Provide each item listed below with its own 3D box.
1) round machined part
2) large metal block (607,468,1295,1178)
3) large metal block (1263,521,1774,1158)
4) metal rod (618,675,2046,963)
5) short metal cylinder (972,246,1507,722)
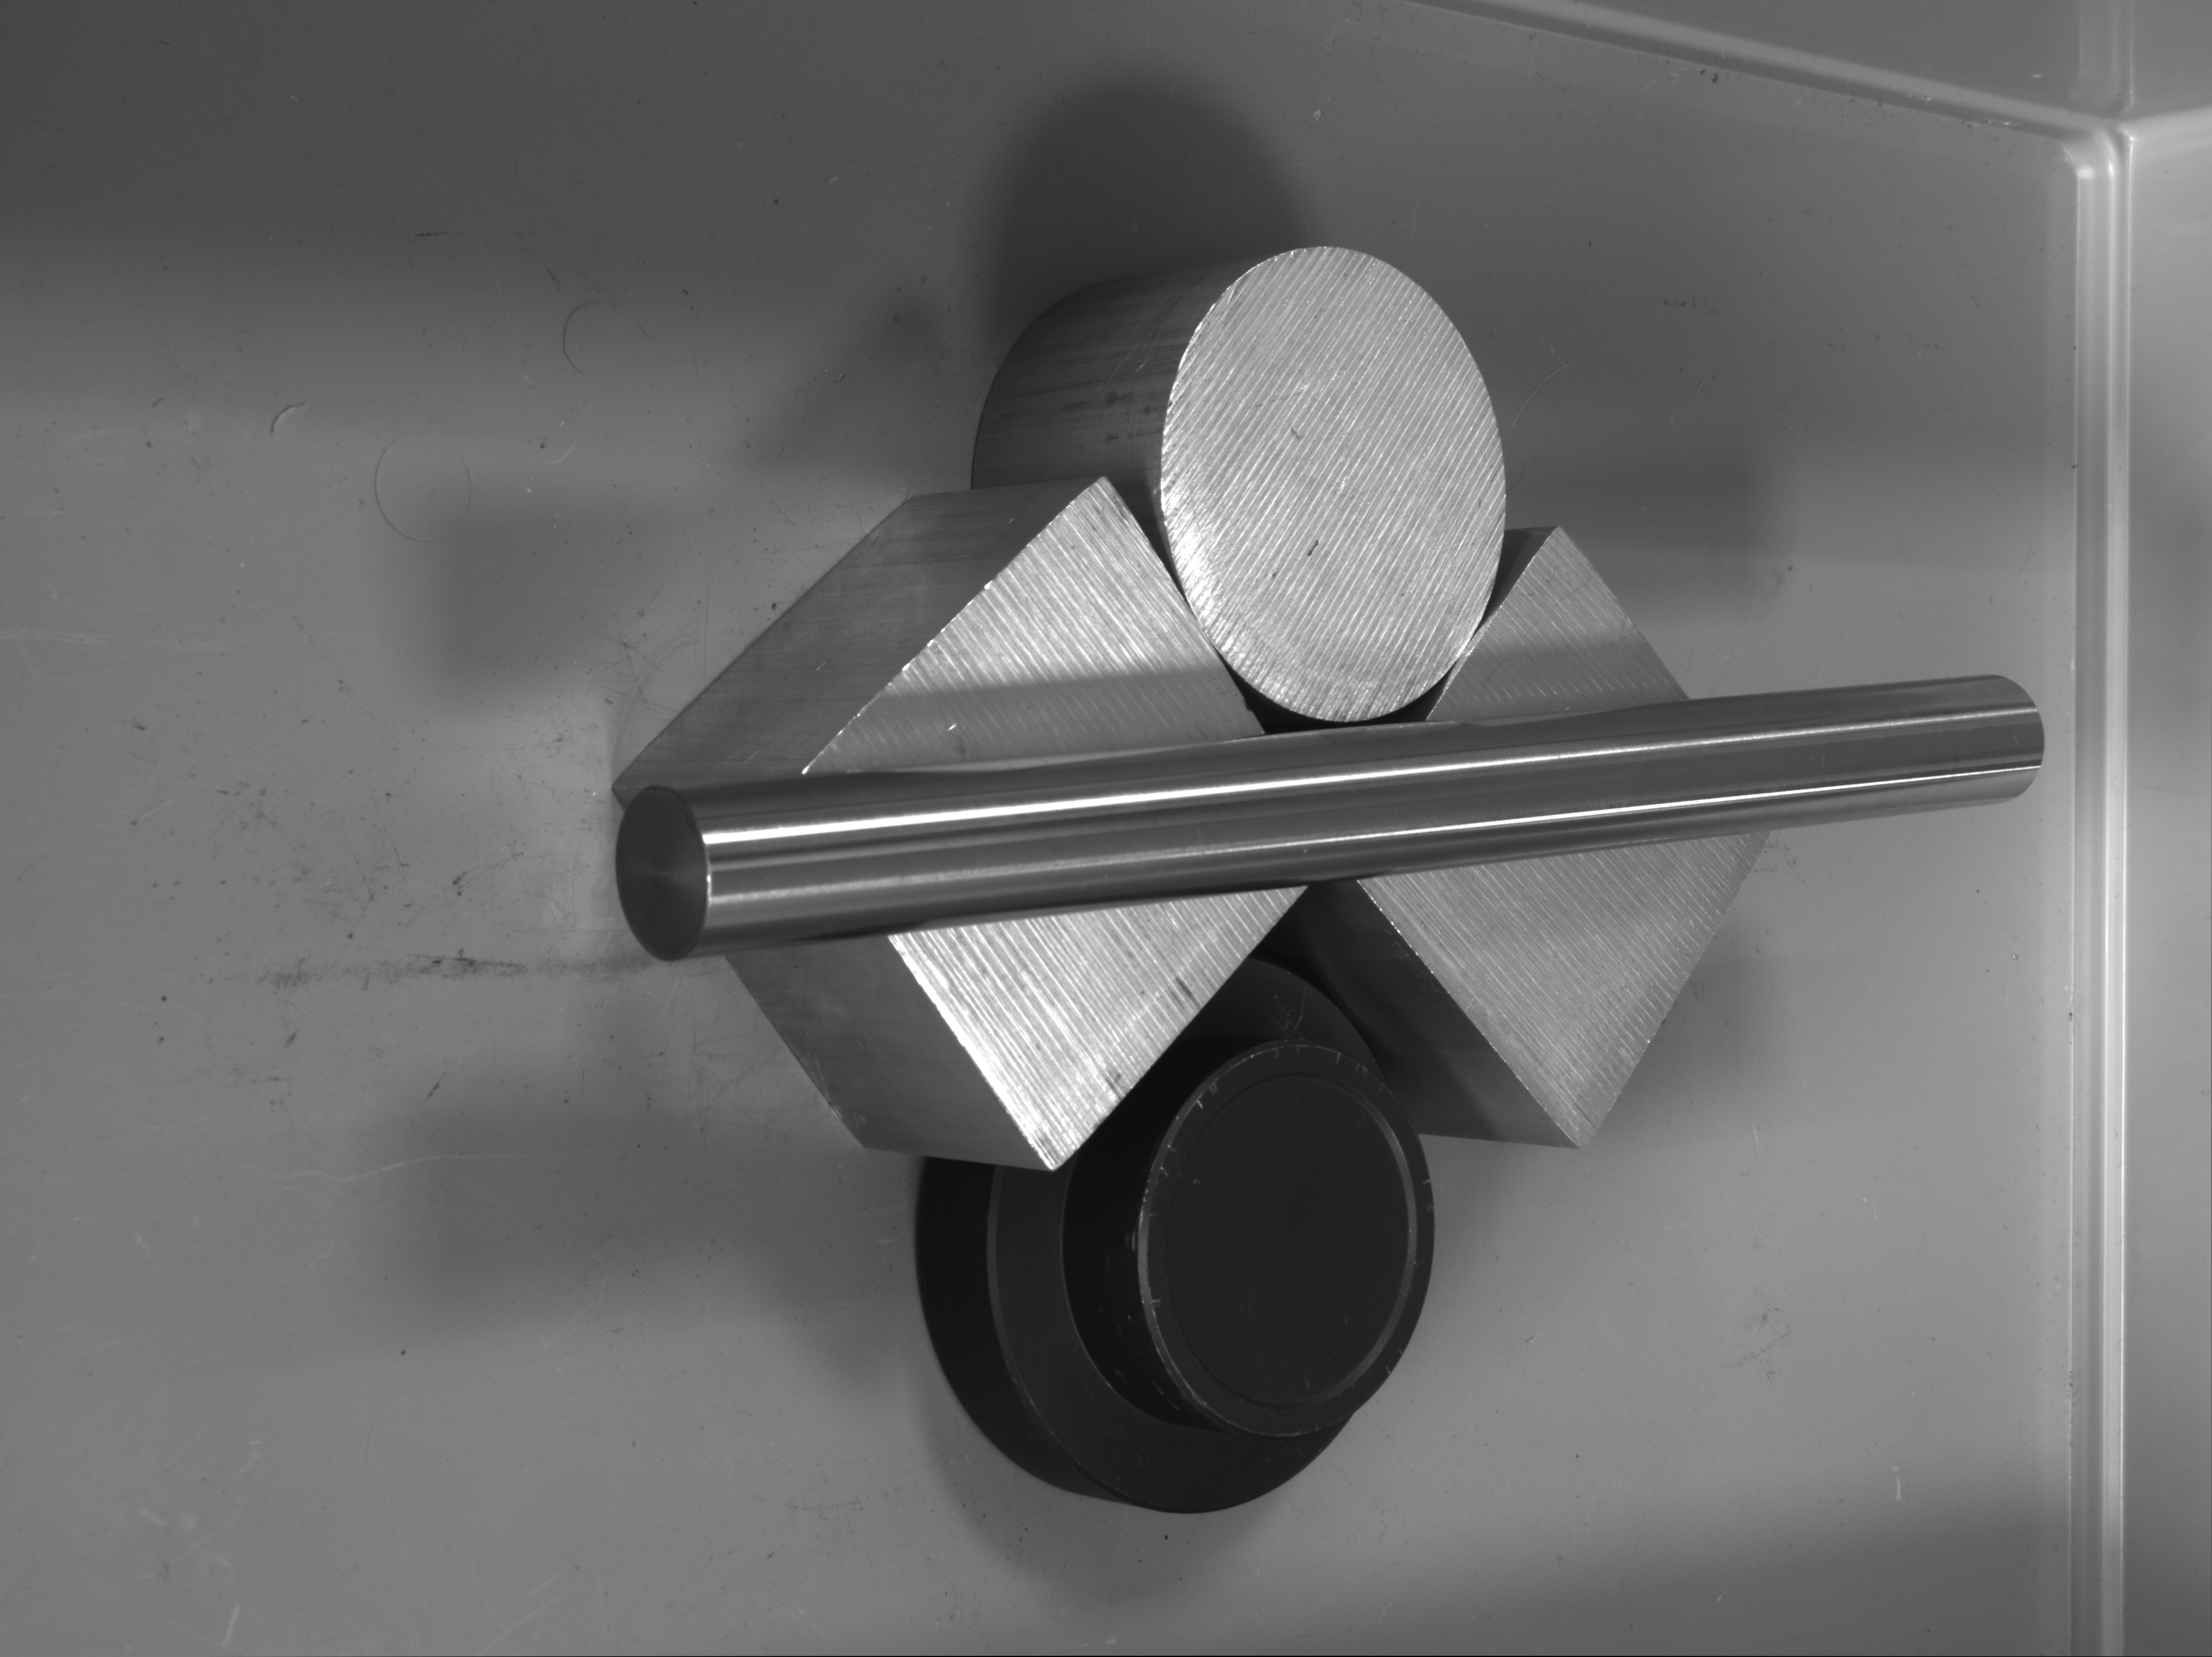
[{"bbox_3d":[0.019,0.070,0.639,0.098,0.042,0.098,0,90,-40],"label":"round machined part"},{"bbox_3d":[-0.020,-0.002,0.601,0.080,0.050,0.080,-47,119,-30],"label":"large metal block"},{"bbox_3d":[0.068,0.002,0.671,0.080,0.050,0.080,50,62,-28],"label":"large metal block"},{"bbox_3d":[0.054,-0.005,0.612,0.301,0.025,0.025,-6,94,-39],"label":"metal rod"},{"bbox_3d":[0.024,-0.058,0.638,0.080,0.050,0.080,0,90,-40],"label":"short metal cylinder"}]
